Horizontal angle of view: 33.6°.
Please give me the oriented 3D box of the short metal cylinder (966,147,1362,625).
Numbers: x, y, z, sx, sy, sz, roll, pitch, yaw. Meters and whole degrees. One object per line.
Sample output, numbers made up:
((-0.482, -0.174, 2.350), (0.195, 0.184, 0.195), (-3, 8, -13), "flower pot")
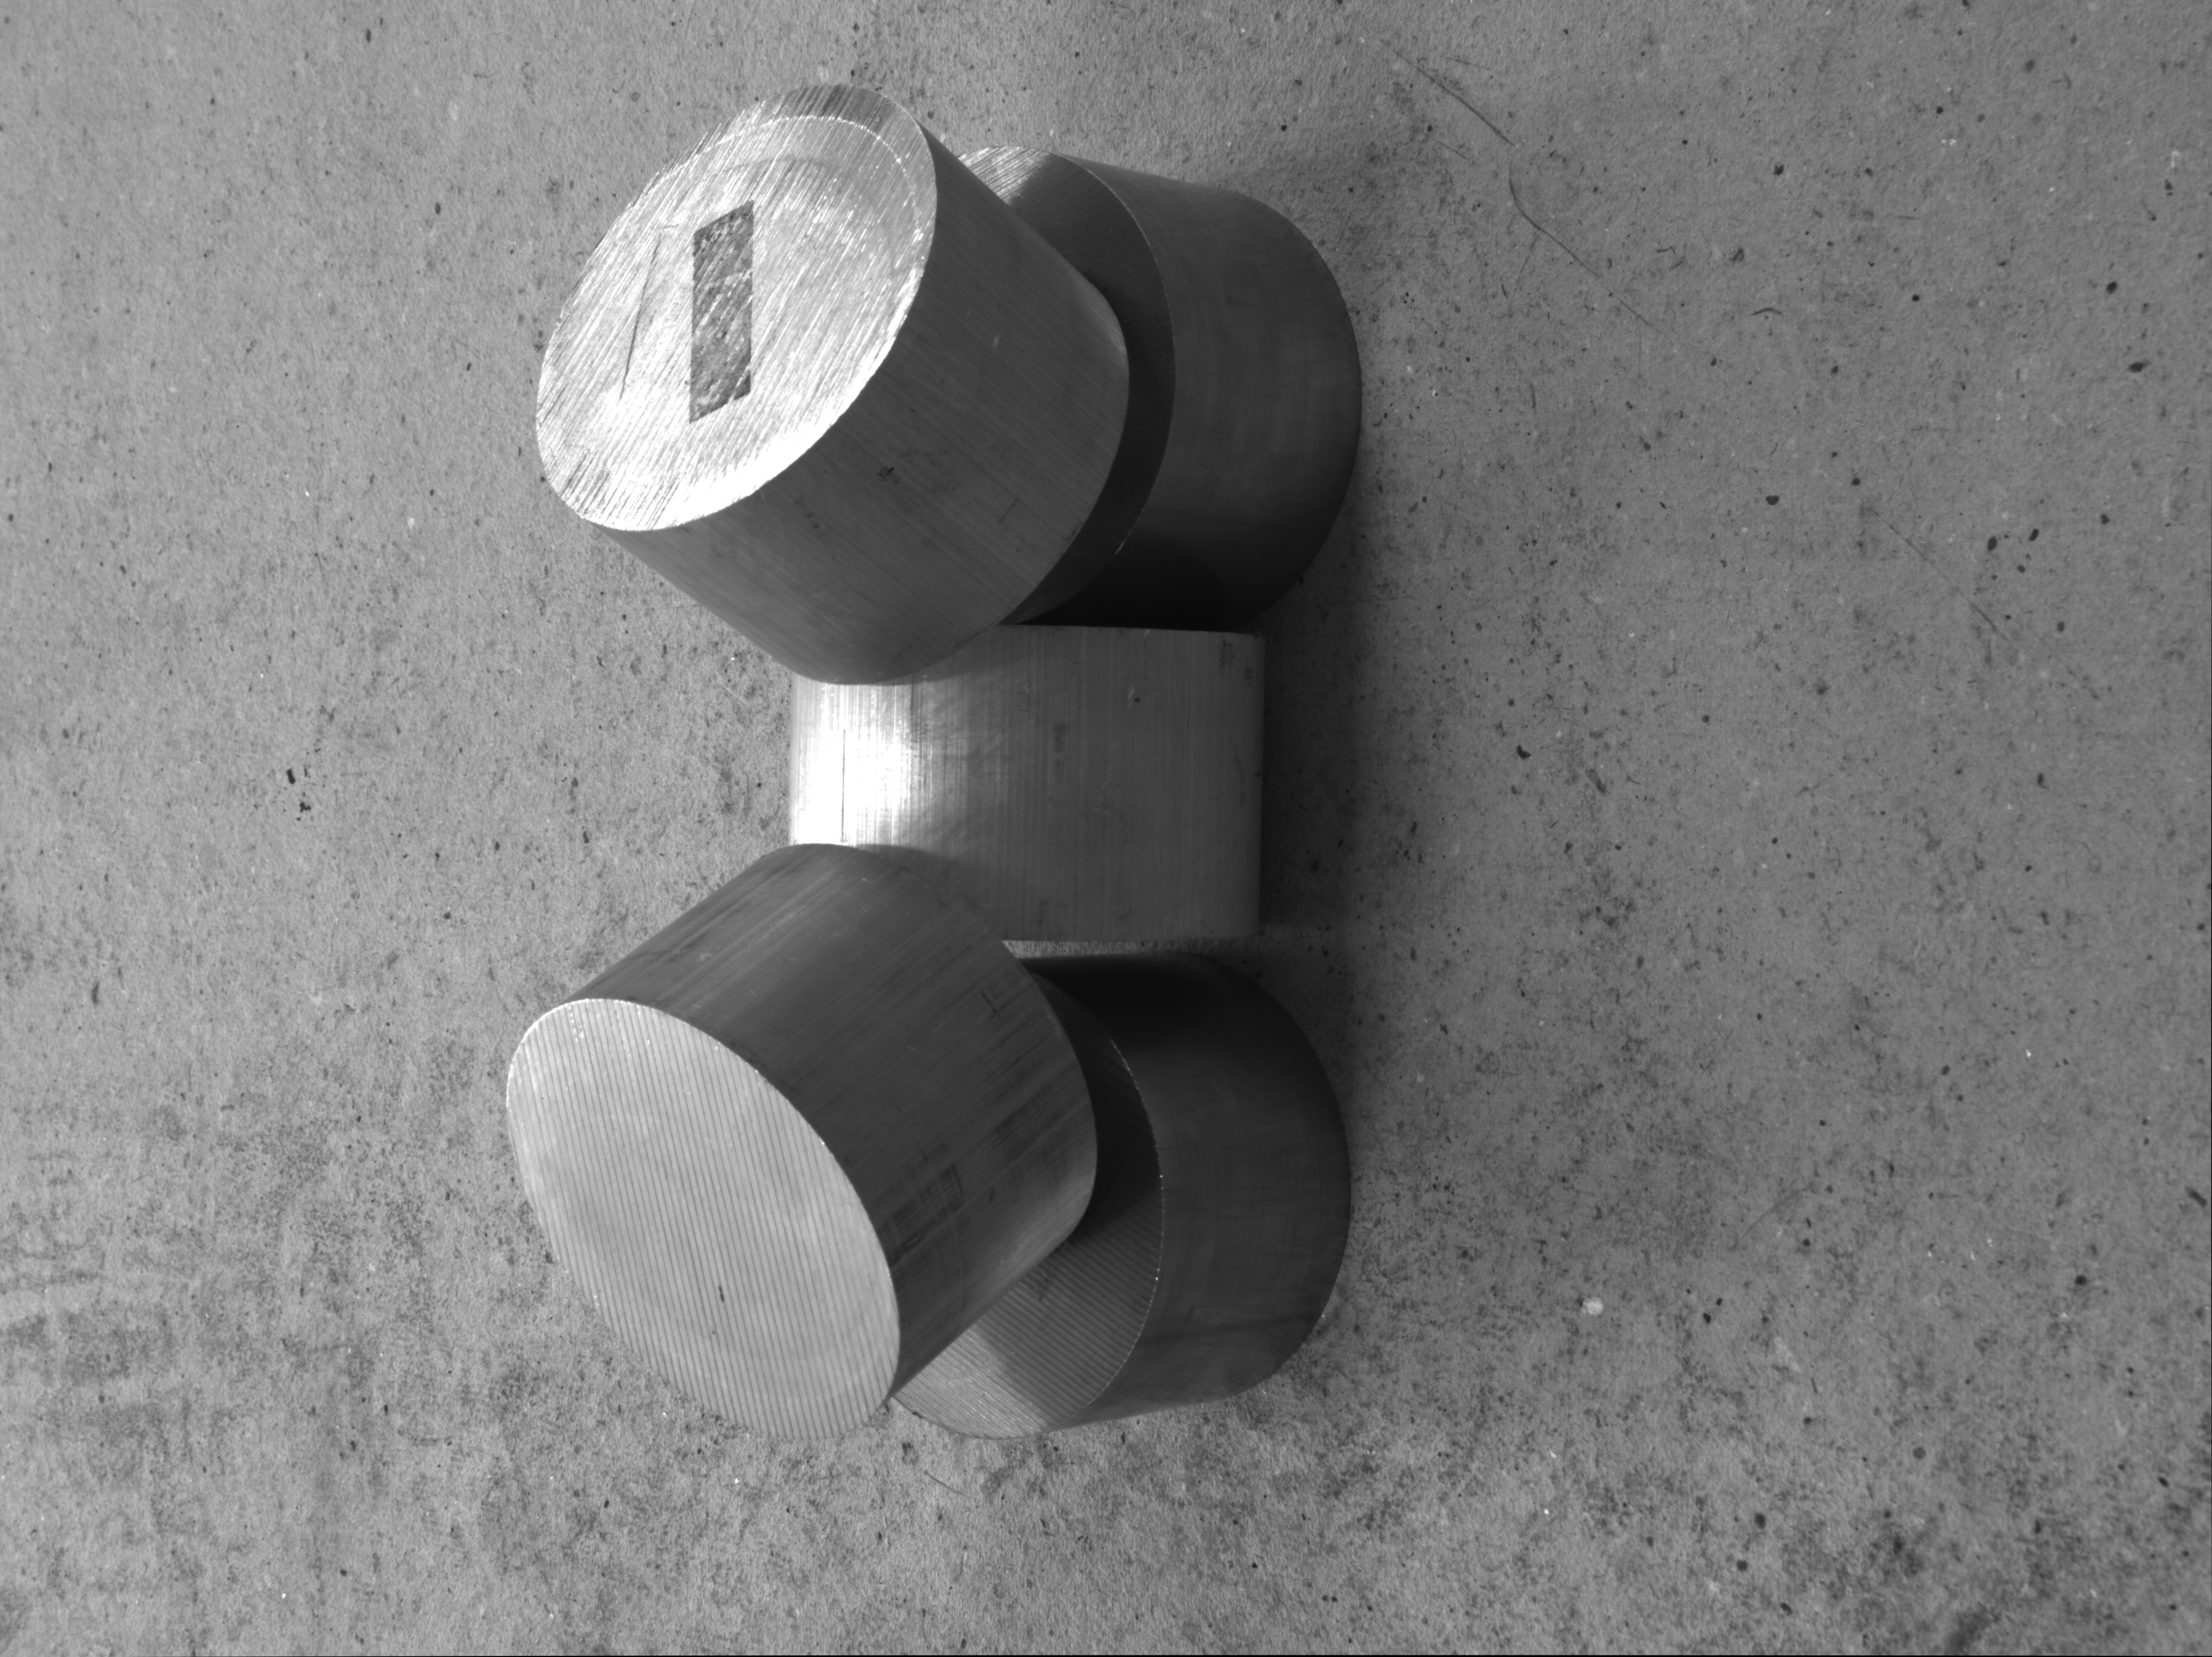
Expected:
((-0.003, -0.074, 0.632), (0.080, 0.050, 0.080), (0, 90, 40), "short metal cylinder")

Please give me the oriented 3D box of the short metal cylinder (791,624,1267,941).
((-0.013, -0.008, 0.621), (0.080, 0.080, 0.050), (2, 91, 40), "short metal cylinder")

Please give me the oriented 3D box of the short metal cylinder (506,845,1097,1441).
((-0.048, 0.050, 0.583), (0.080, 0.050, 0.080), (22, 131, 29), "short metal cylinder")

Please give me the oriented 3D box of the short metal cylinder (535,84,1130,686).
((-0.043, -0.070, 0.580), (0.080, 0.050, 0.080), (-20, 53, 29), "short metal cylinder")

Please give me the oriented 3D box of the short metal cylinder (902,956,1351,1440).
((-0.005, 0.062, 0.633), (0.080, 0.050, 0.080), (0, 90, 40), "short metal cylinder")
